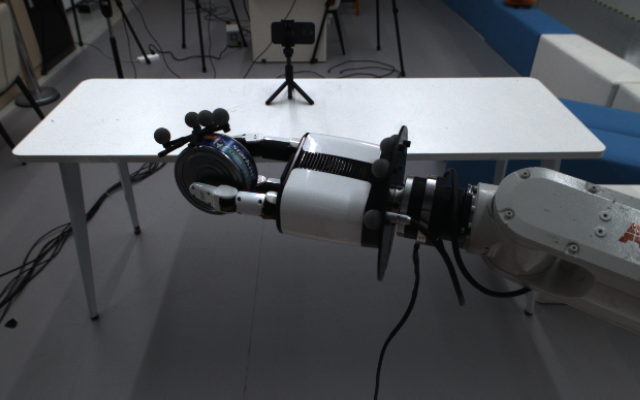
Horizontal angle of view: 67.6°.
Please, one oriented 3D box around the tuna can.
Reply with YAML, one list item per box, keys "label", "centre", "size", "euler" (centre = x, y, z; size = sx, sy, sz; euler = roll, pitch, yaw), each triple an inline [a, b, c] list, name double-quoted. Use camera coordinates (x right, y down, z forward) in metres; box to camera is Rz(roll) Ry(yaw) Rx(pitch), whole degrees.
- label: "tuna can"
  centre: [-0.109, -0.021, 0.525]
  size: [0.085, 0.085, 0.034]
  euler: [11, 34, 13]
